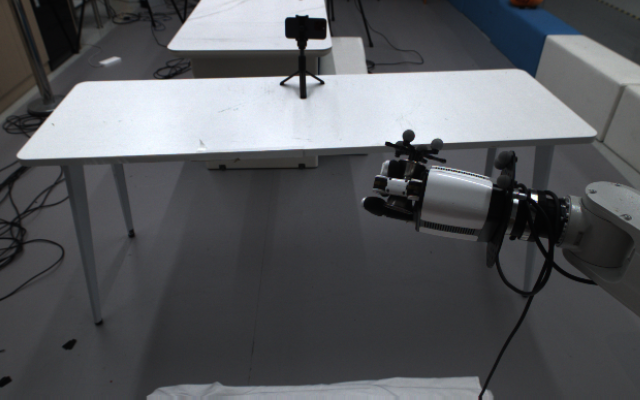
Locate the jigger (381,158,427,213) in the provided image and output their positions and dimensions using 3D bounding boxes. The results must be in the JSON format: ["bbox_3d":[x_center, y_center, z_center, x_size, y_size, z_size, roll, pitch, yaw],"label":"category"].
[{"bbox_3d":[0.120,-0.020,0.677,0.043,0.071,0.043,19,-6,2],"label":"jigger"}]
